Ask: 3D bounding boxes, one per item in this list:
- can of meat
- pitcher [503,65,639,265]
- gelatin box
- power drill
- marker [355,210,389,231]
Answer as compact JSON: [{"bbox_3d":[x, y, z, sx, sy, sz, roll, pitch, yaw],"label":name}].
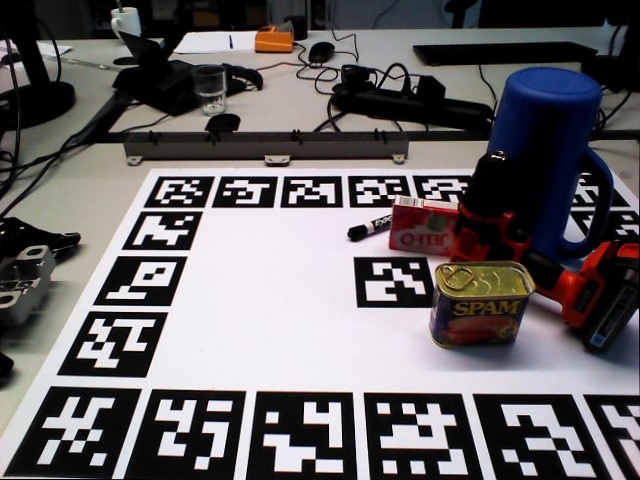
[{"bbox_3d":[0.183,0.072,0.578,0.102,0.084,0.057,0,37,1],"label":"can of meat"},{"bbox_3d":[0.303,-0.086,0.659,0.190,0.243,0.132,17,45,32],"label":"pitcher"},{"bbox_3d":[0.160,-0.023,0.711,0.090,0.073,0.030,8,44,10],"label":"gelatin box"},{"bbox_3d":[0.252,-0.004,0.596,0.187,0.185,0.057,28,50,24],"label":"power drill"},{"bbox_3d":[0.108,-0.038,0.771,0.121,0.020,0.019,-18,42,-17],"label":"marker"}]
